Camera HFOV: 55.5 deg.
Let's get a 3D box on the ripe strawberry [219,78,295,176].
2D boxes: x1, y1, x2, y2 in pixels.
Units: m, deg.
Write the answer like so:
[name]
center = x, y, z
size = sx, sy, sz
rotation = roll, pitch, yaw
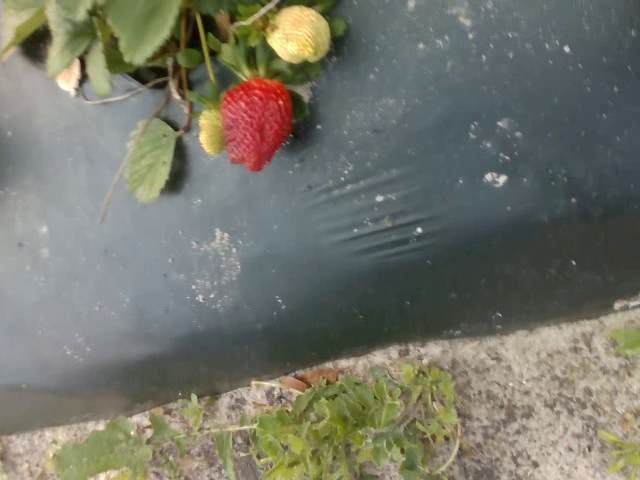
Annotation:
[ripe strawberry]
center = -0.033, -0.060, 0.328
size = 0.047, 0.059, 0.046
rotation = -15, -27, 34
